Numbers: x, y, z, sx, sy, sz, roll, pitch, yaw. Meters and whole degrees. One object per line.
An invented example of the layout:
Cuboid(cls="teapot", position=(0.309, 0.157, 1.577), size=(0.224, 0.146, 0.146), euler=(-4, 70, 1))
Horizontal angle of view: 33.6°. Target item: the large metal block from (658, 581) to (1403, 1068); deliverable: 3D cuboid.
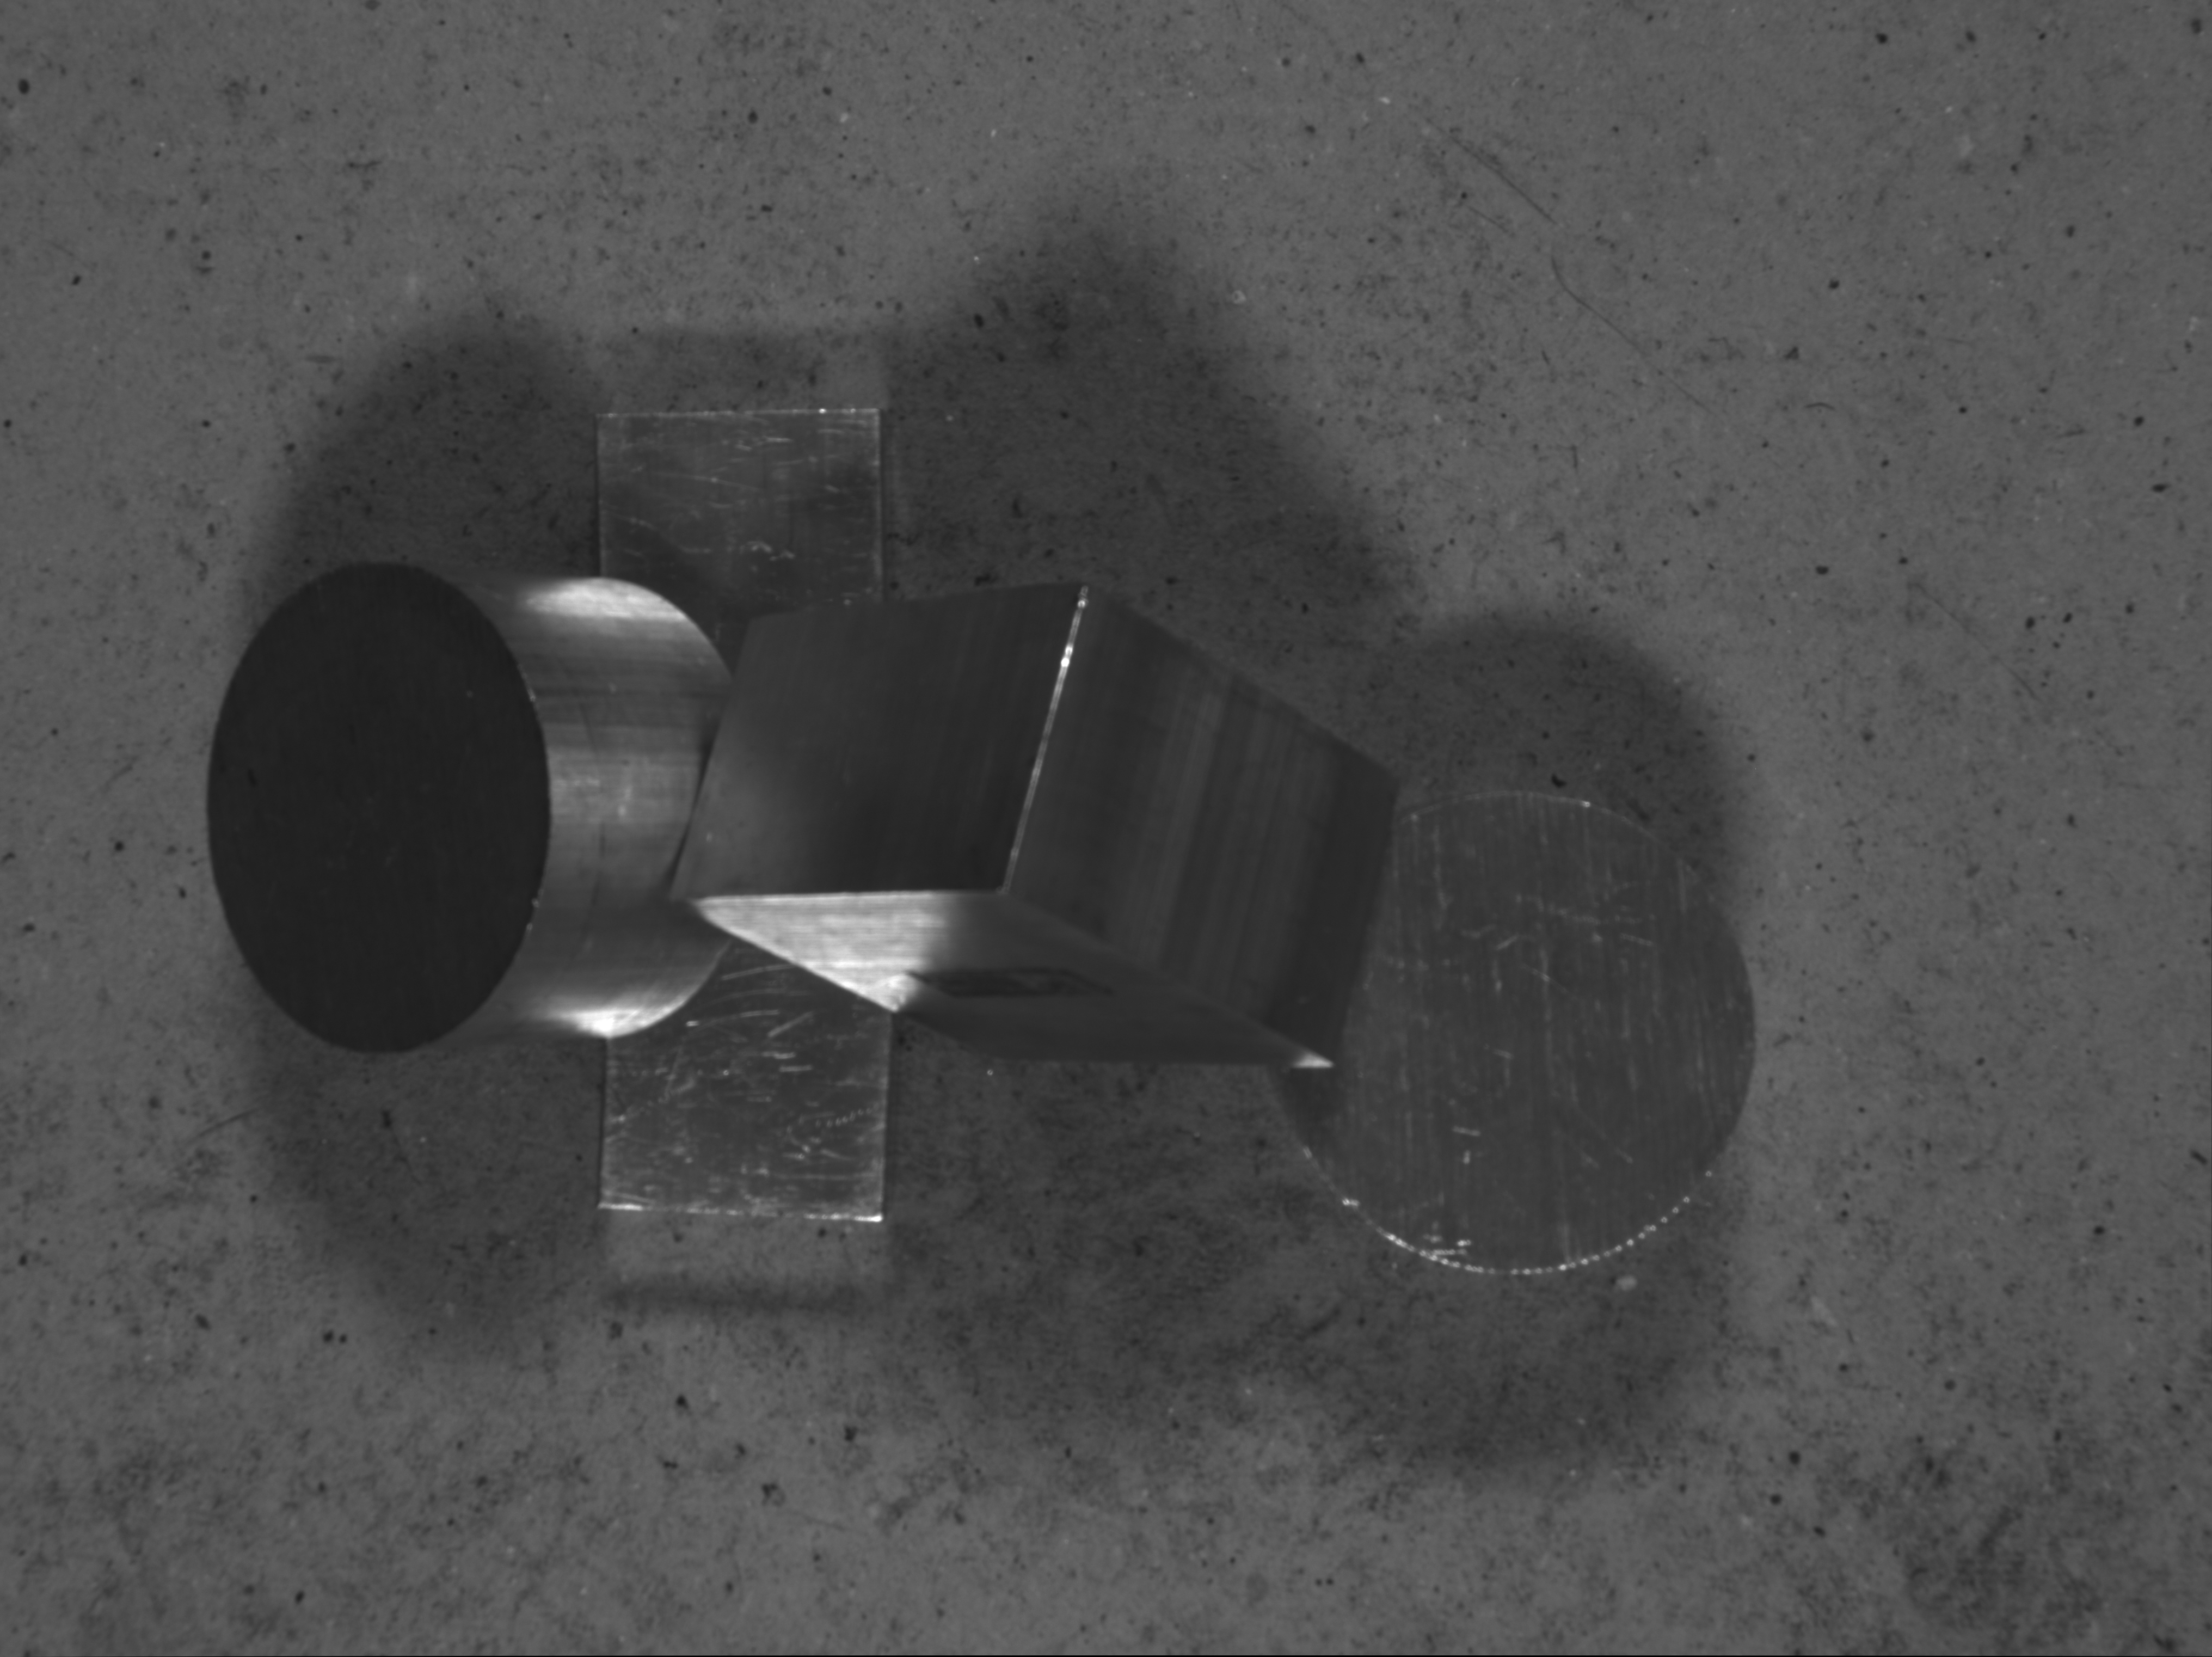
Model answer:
Cuboid(cls="large metal block", position=(-0.012, 0.002, 0.599), size=(0.080, 0.080, 0.050), euler=(29, 68, -41))

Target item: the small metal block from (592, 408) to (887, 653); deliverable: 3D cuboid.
Cuboid(cls="small metal block", position=(-0.063, -0.047, 0.644), size=(0.050, 0.025, 0.050), euler=(-1, 90, 0))

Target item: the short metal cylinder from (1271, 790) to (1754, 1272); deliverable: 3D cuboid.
Cuboid(cls="short metal cylinder", position=(0.068, 0.034, 0.633), size=(0.080, 0.050, 0.080), euler=(0, 90, 0))

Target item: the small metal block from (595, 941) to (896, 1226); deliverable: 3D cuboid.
Cuboid(cls="small metal block", position=(-0.062, 0.042, 0.644), size=(0.050, 0.025, 0.050), euler=(3, 90, 0))

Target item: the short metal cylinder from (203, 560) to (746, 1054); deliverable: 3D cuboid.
Cuboid(cls="short metal cylinder", position=(-0.105, -0.004, 0.614), size=(0.080, 0.050, 0.080), euler=(0, 91, 35))
